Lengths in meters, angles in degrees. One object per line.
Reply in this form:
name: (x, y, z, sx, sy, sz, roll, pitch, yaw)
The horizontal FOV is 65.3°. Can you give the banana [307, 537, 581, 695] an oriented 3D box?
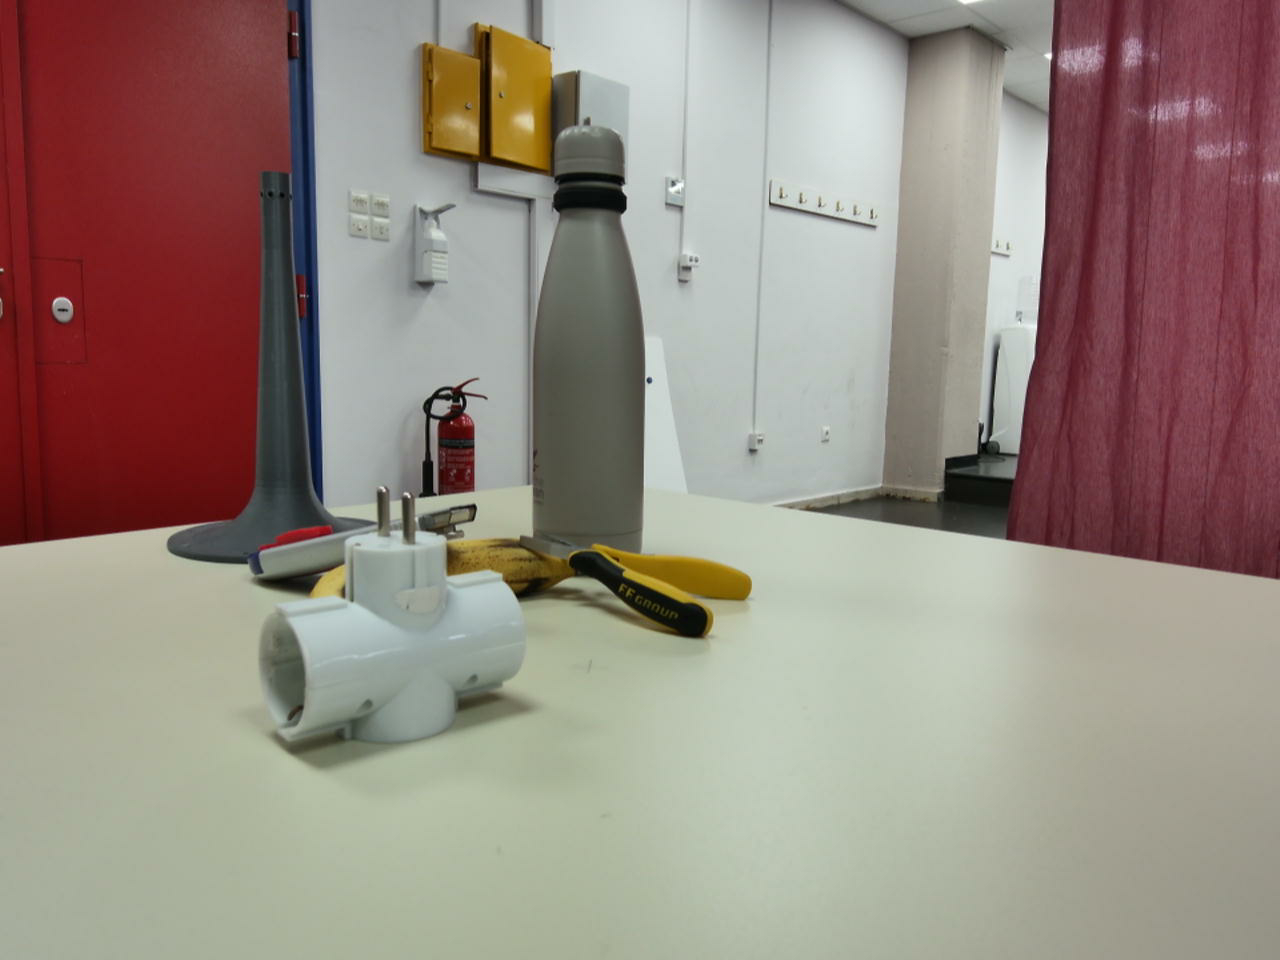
banana: (-0.104, 0.057, 0.506, 0.097, 0.038, 0.186, 2, 6, 13)
